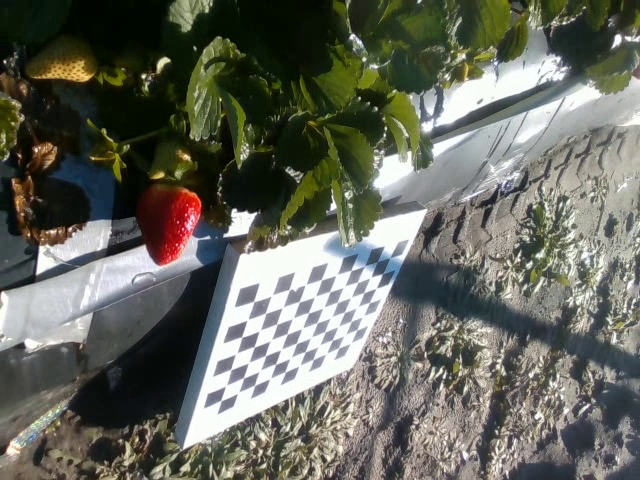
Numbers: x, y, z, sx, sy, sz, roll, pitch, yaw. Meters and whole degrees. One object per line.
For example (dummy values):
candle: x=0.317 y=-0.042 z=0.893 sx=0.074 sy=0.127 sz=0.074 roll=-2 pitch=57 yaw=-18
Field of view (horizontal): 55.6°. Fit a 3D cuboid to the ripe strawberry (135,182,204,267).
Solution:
ripe strawberry: x=-0.121 y=-0.008 z=0.490 sx=0.057 sy=0.065 sz=0.061 roll=-7 pitch=-18 yaw=23
